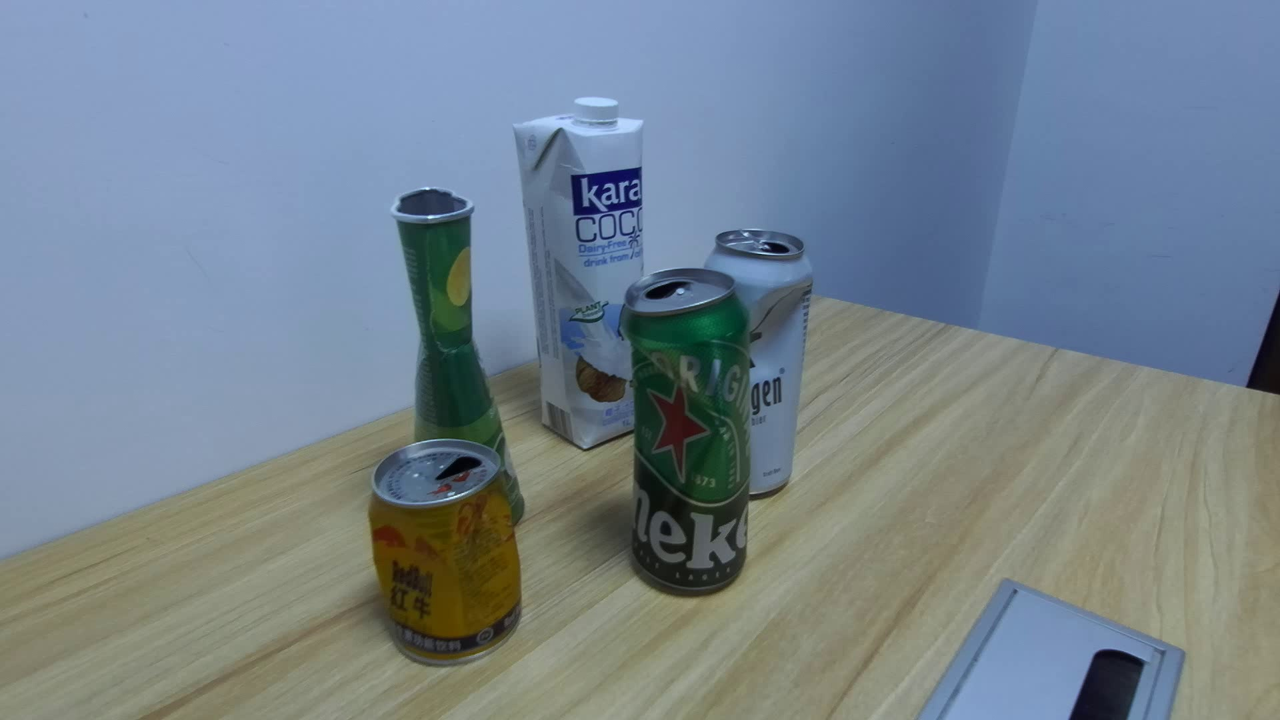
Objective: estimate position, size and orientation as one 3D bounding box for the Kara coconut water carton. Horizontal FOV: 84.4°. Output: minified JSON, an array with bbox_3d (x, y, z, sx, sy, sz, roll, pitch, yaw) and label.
[{"bbox_3d":[-0.038,-0.060,0.517,0.077,0.245,0.075,-17,25,-34],"label":"Kara coconut water carton"}]

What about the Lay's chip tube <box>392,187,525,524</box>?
[{"bbox_3d":[-0.112,0.007,0.420,0.074,0.199,0.069,13,27,31],"label":"Lay's chip tube"}]

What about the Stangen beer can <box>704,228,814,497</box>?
[{"bbox_3d":[0.073,0.004,0.456,0.070,0.173,0.069,3,24,8],"label":"Stangen beer can"}]

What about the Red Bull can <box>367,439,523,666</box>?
[{"bbox_3d":[-0.094,0.092,0.349,0.072,0.092,0.072,-1,23,1],"label":"Red Bull can"}]

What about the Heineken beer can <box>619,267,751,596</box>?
[{"bbox_3d":[0.024,0.041,0.374,0.069,0.168,0.068,3,24,17],"label":"Heineken beer can"}]
